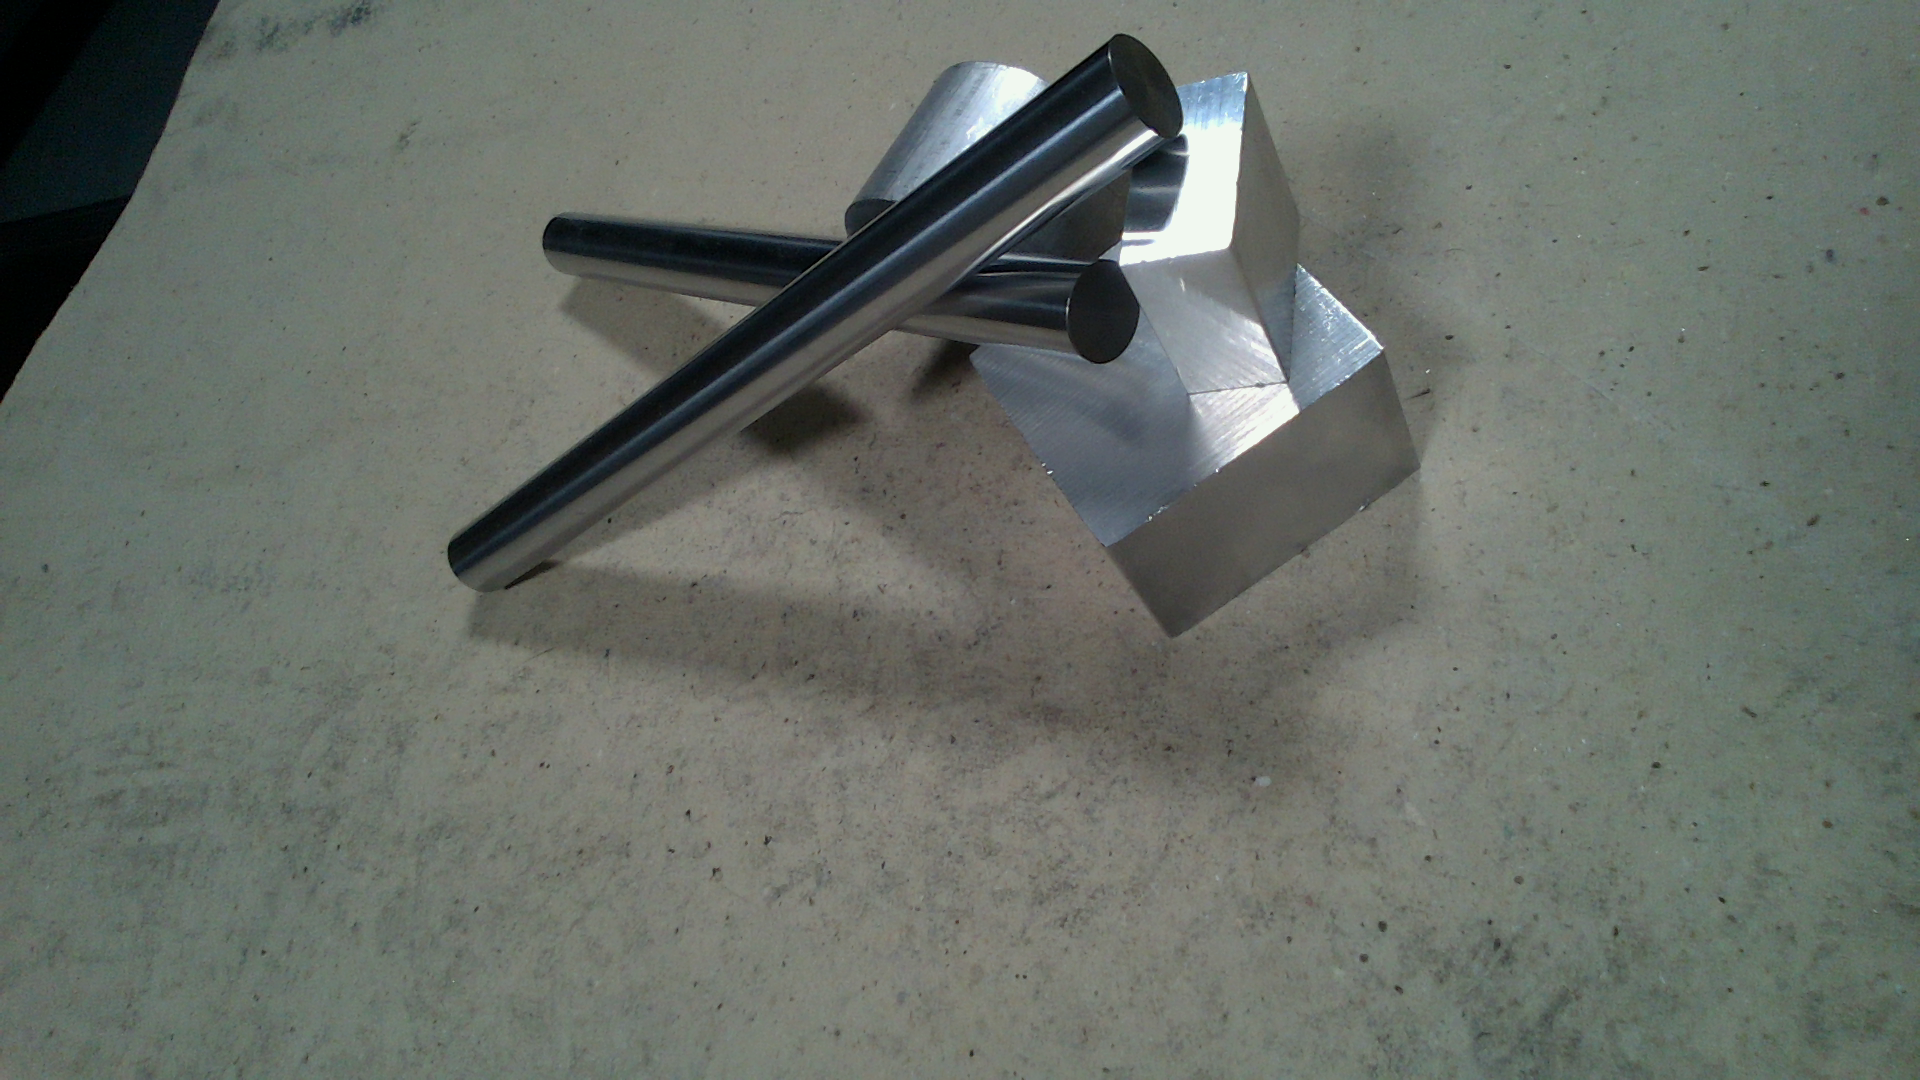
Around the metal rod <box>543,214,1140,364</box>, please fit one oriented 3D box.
[{"bbox_3d":[-0.060,-0.087,0.443,0.299,0.025,0.025,18,71,48],"label":"metal rod"}]

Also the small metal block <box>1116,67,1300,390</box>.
[{"bbox_3d":[0.060,-0.071,0.321,0.025,0.050,0.050,-5,60,27],"label":"small metal block"}]

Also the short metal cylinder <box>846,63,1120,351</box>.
[{"bbox_3d":[0.013,-0.094,0.411,0.080,0.080,0.050,23,74,37],"label":"short metal cylinder"}]

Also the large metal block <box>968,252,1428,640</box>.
[{"bbox_3d":[0.061,-0.035,0.364,0.080,0.050,0.080,-36,50,5],"label":"large metal block"}]

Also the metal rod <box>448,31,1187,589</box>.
[{"bbox_3d":[-0.063,-0.046,0.388,0.299,0.025,0.025,-26,49,39],"label":"metal rod"}]
